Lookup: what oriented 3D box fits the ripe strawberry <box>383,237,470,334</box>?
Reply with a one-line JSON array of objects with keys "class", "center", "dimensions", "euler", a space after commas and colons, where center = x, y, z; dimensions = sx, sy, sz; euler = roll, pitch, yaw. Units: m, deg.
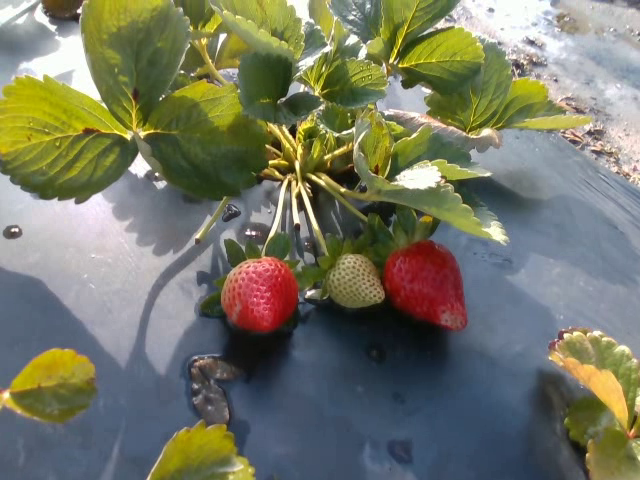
[{"class": "ripe strawberry", "center": [0.062, 0.027, 0.336], "dimensions": [0.048, 0.065, 0.050], "euler": [-35, -31, 14]}]
